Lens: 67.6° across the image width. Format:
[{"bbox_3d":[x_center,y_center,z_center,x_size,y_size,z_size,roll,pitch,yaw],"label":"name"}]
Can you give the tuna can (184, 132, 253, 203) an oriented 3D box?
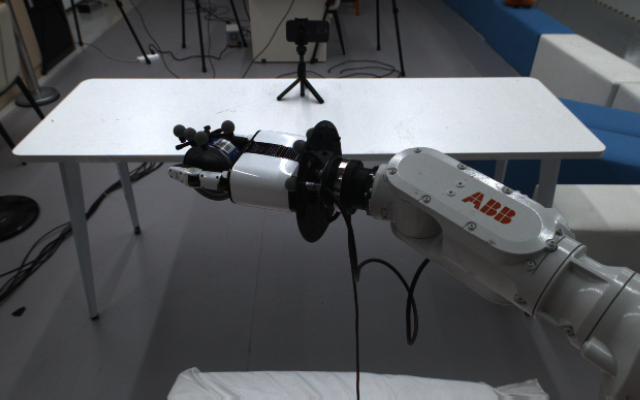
[{"bbox_3d":[-0.144,-0.043,0.676,0.085,0.085,0.034,13,33,16],"label":"tuna can"}]
